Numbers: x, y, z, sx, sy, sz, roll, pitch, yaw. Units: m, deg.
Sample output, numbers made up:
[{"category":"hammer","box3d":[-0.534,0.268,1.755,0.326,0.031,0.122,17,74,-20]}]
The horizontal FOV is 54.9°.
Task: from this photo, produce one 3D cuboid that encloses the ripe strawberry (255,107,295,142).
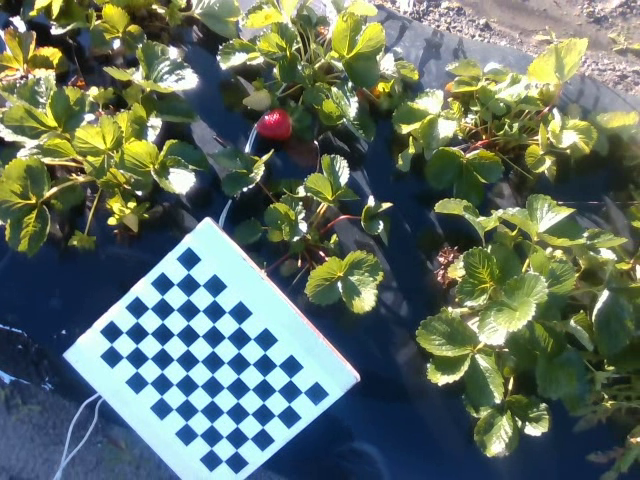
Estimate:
[{"category":"ripe strawberry","box3d":[-0.071,-0.189,0.976,0.080,0.063,0.040,-20,8,-34]}]
